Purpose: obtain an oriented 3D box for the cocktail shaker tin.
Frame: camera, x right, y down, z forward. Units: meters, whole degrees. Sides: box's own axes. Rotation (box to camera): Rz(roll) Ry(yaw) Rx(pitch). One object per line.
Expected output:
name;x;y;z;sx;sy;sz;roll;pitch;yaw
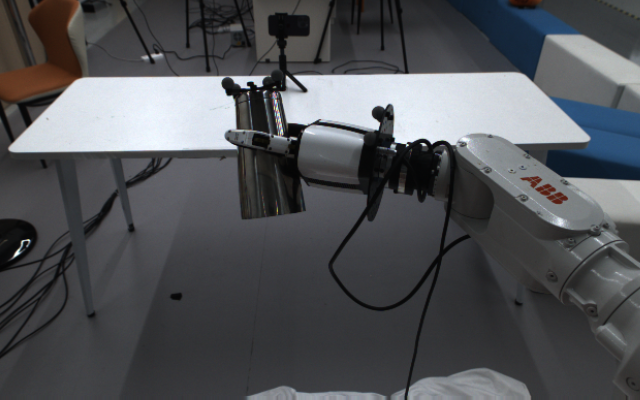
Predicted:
cocktail shaker tin;-0.077;-0.063;0.683;0.093;0.170;0.093;-8;1;0
